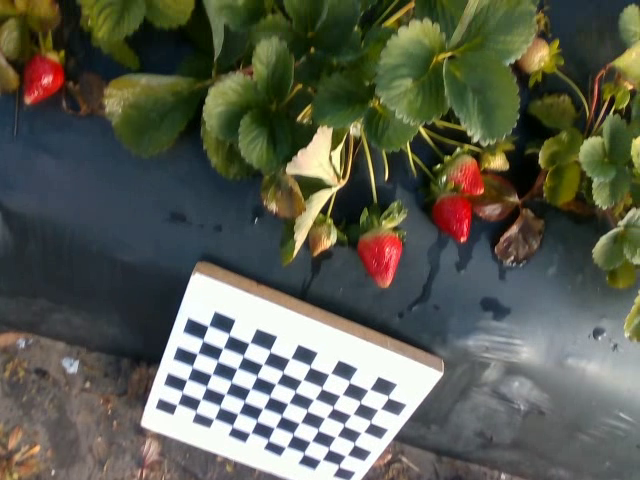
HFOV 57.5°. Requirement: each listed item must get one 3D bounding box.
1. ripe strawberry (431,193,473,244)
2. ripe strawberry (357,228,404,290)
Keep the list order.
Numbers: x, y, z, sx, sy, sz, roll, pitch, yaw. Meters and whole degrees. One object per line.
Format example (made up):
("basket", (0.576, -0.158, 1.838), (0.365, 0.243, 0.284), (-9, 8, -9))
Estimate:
("ripe strawberry", (0.139, -0.019, 0.603), (0.044, 0.055, 0.041), (-33, -29, 27))
("ripe strawberry", (0.063, 0.018, 0.592), (0.050, 0.065, 0.050), (-10, -24, 17))
